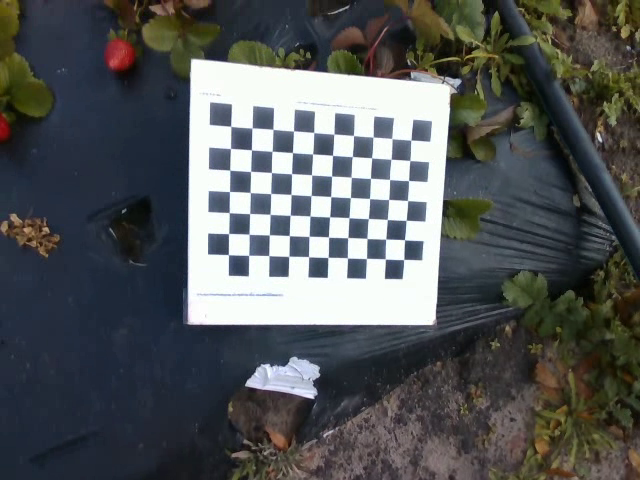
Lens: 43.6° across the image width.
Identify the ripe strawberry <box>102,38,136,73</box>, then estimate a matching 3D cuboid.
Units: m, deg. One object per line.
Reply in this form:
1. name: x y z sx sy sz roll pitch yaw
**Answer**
1. ripe strawberry: -0.232 -0.189 0.890 0.044 0.052 0.041 27 -49 -23
